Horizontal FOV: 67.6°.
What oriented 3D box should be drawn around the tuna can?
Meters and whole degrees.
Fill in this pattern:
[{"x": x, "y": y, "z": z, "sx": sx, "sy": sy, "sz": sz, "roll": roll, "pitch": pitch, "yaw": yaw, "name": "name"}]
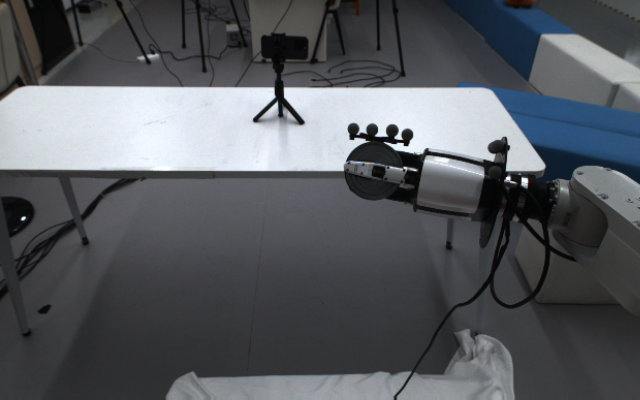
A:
[{"x": 0.081, "y": -0.046, "z": 0.712, "sx": 0.085, "sy": 0.085, "sz": 0.034, "roll": 11, "pitch": 1, "yaw": 13, "name": "tuna can"}]
